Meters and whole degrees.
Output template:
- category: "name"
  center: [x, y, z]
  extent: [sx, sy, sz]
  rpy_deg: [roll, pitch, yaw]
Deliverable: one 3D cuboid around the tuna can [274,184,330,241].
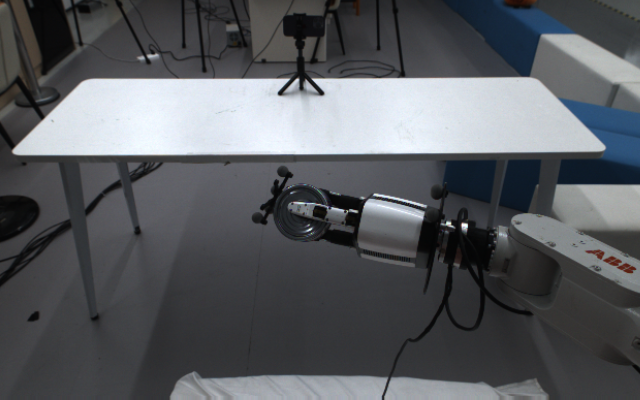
- category: "tuna can"
  center: [-0.022, 0.023, 0.713]
  extent: [0.085, 0.085, 0.034]
  rpy_deg: [9, -4, 10]
